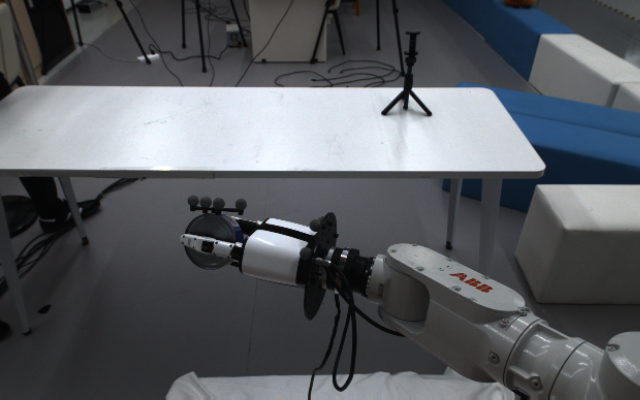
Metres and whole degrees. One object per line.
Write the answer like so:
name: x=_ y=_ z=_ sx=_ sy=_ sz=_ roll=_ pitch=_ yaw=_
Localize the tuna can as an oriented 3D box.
tuna can: x=-0.161 y=0.062 z=0.738 sx=0.085 sy=0.085 sz=0.034 roll=12 pitch=2 yaw=14
